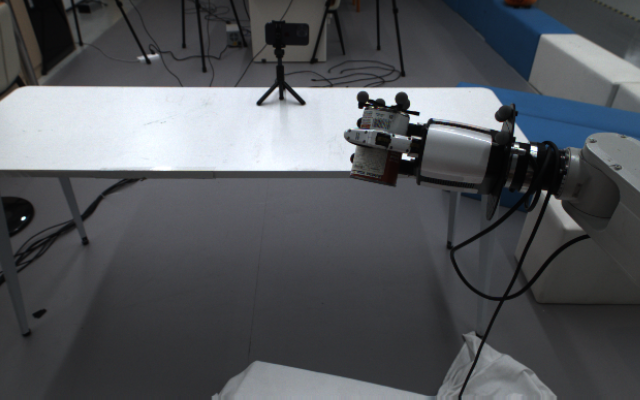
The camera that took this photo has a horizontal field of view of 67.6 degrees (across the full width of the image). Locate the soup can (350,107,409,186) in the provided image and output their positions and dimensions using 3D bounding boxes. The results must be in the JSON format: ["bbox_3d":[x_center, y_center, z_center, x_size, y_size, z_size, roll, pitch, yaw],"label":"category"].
[{"bbox_3d":[0.086,-0.075,0.687,0.067,0.101,0.067,12,2,0],"label":"soup can"}]
